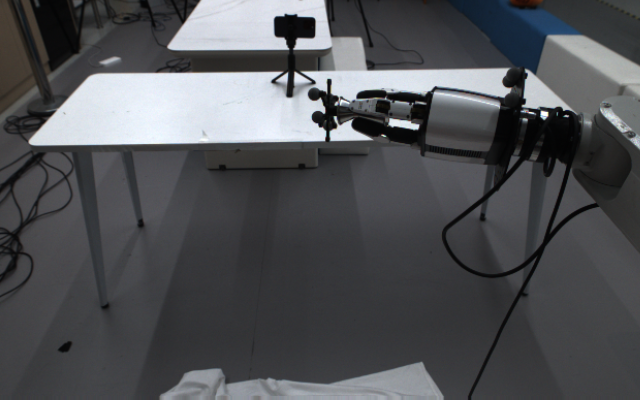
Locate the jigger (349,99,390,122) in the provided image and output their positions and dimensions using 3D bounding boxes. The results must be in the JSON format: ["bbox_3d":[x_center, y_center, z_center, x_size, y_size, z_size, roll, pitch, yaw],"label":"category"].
[{"bbox_3d":[0.068,-0.130,0.680,0.071,0.043,0.043,3,34,16],"label":"jigger"}]
